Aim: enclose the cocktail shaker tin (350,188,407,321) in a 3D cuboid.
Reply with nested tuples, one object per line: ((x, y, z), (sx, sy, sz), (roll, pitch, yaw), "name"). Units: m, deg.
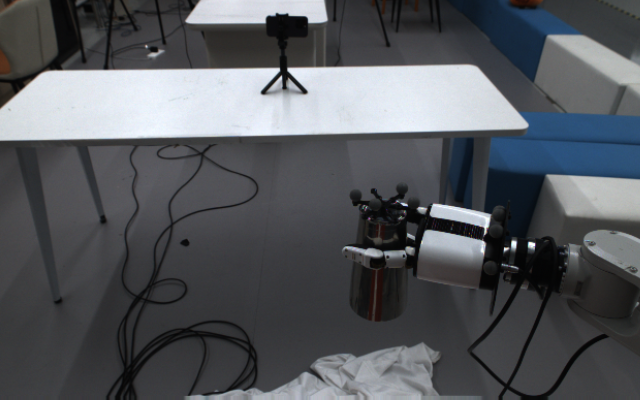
((0.094, 0.083, 0.722), (0.093, 0.170, 0.093), (-1, 32, 1), "cocktail shaker tin")
